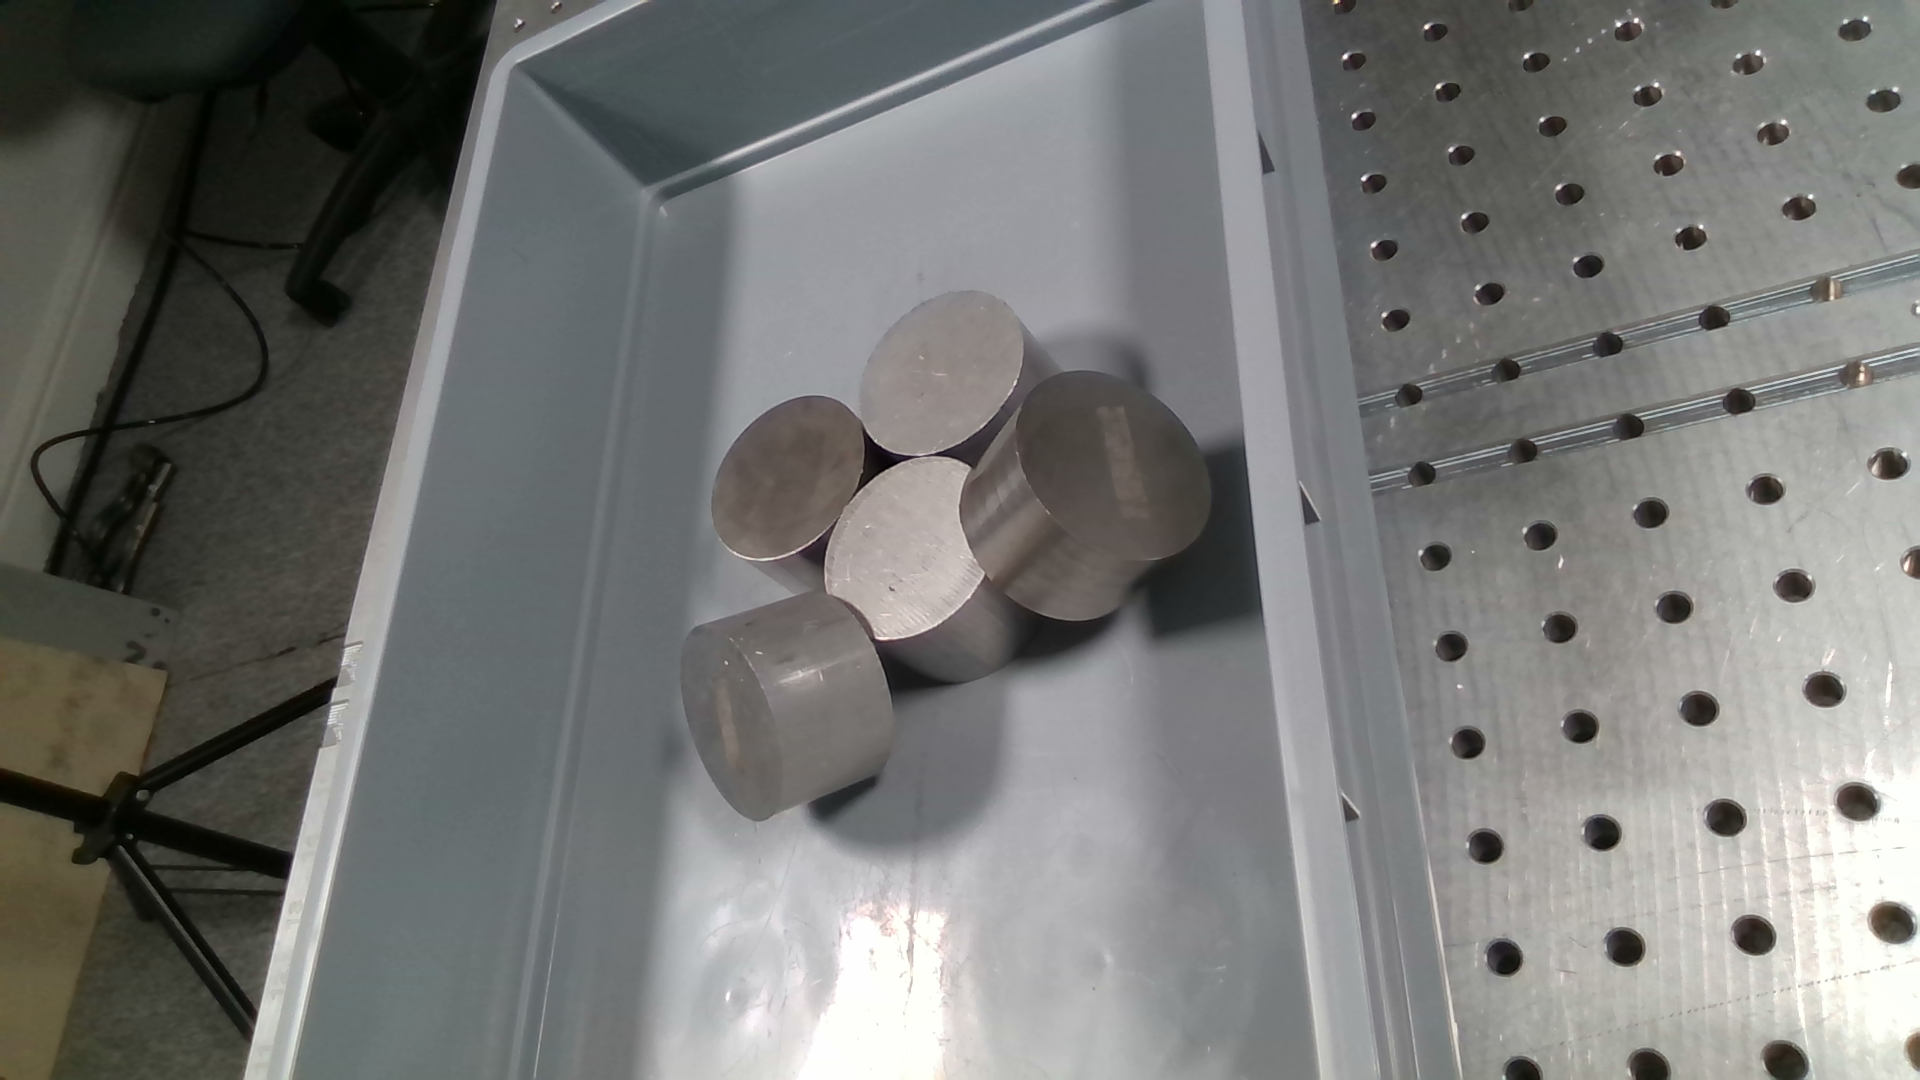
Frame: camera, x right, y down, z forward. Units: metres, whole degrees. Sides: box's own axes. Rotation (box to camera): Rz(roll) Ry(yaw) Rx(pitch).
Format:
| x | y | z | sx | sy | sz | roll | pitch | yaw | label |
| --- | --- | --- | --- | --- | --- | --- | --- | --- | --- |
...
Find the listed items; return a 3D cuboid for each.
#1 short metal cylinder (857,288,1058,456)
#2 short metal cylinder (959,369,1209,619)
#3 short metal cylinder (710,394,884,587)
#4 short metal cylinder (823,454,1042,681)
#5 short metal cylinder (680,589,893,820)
| x | y | z | sx | sy | sz | roll | pitch | yaw | label |
| --- | --- | --- | --- | --- | --- | --- | --- | --- | --- |
| 0.002 | -0.062 | 0.598 | 0.080 | 0.050 | 0.080 | -14 | 59 | 25 | short metal cylinder |
| 0.046 | -0.017 | 0.520 | 0.050 | 0.080 | 0.080 | 130 | 144 | -52 | short metal cylinder |
| -0.064 | -0.018 | 0.616 | 0.080 | 0.050 | 0.080 | -14 | 59 | 25 | short metal cylinder |
| -0.009 | 0.012 | 0.566 | 0.080 | 0.050 | 0.080 | -14 | 59 | 25 | short metal cylinder |
| -0.070 | 0.065 | 0.550 | 0.080 | 0.050 | 0.080 | 26 | 125 | 46 | short metal cylinder |
